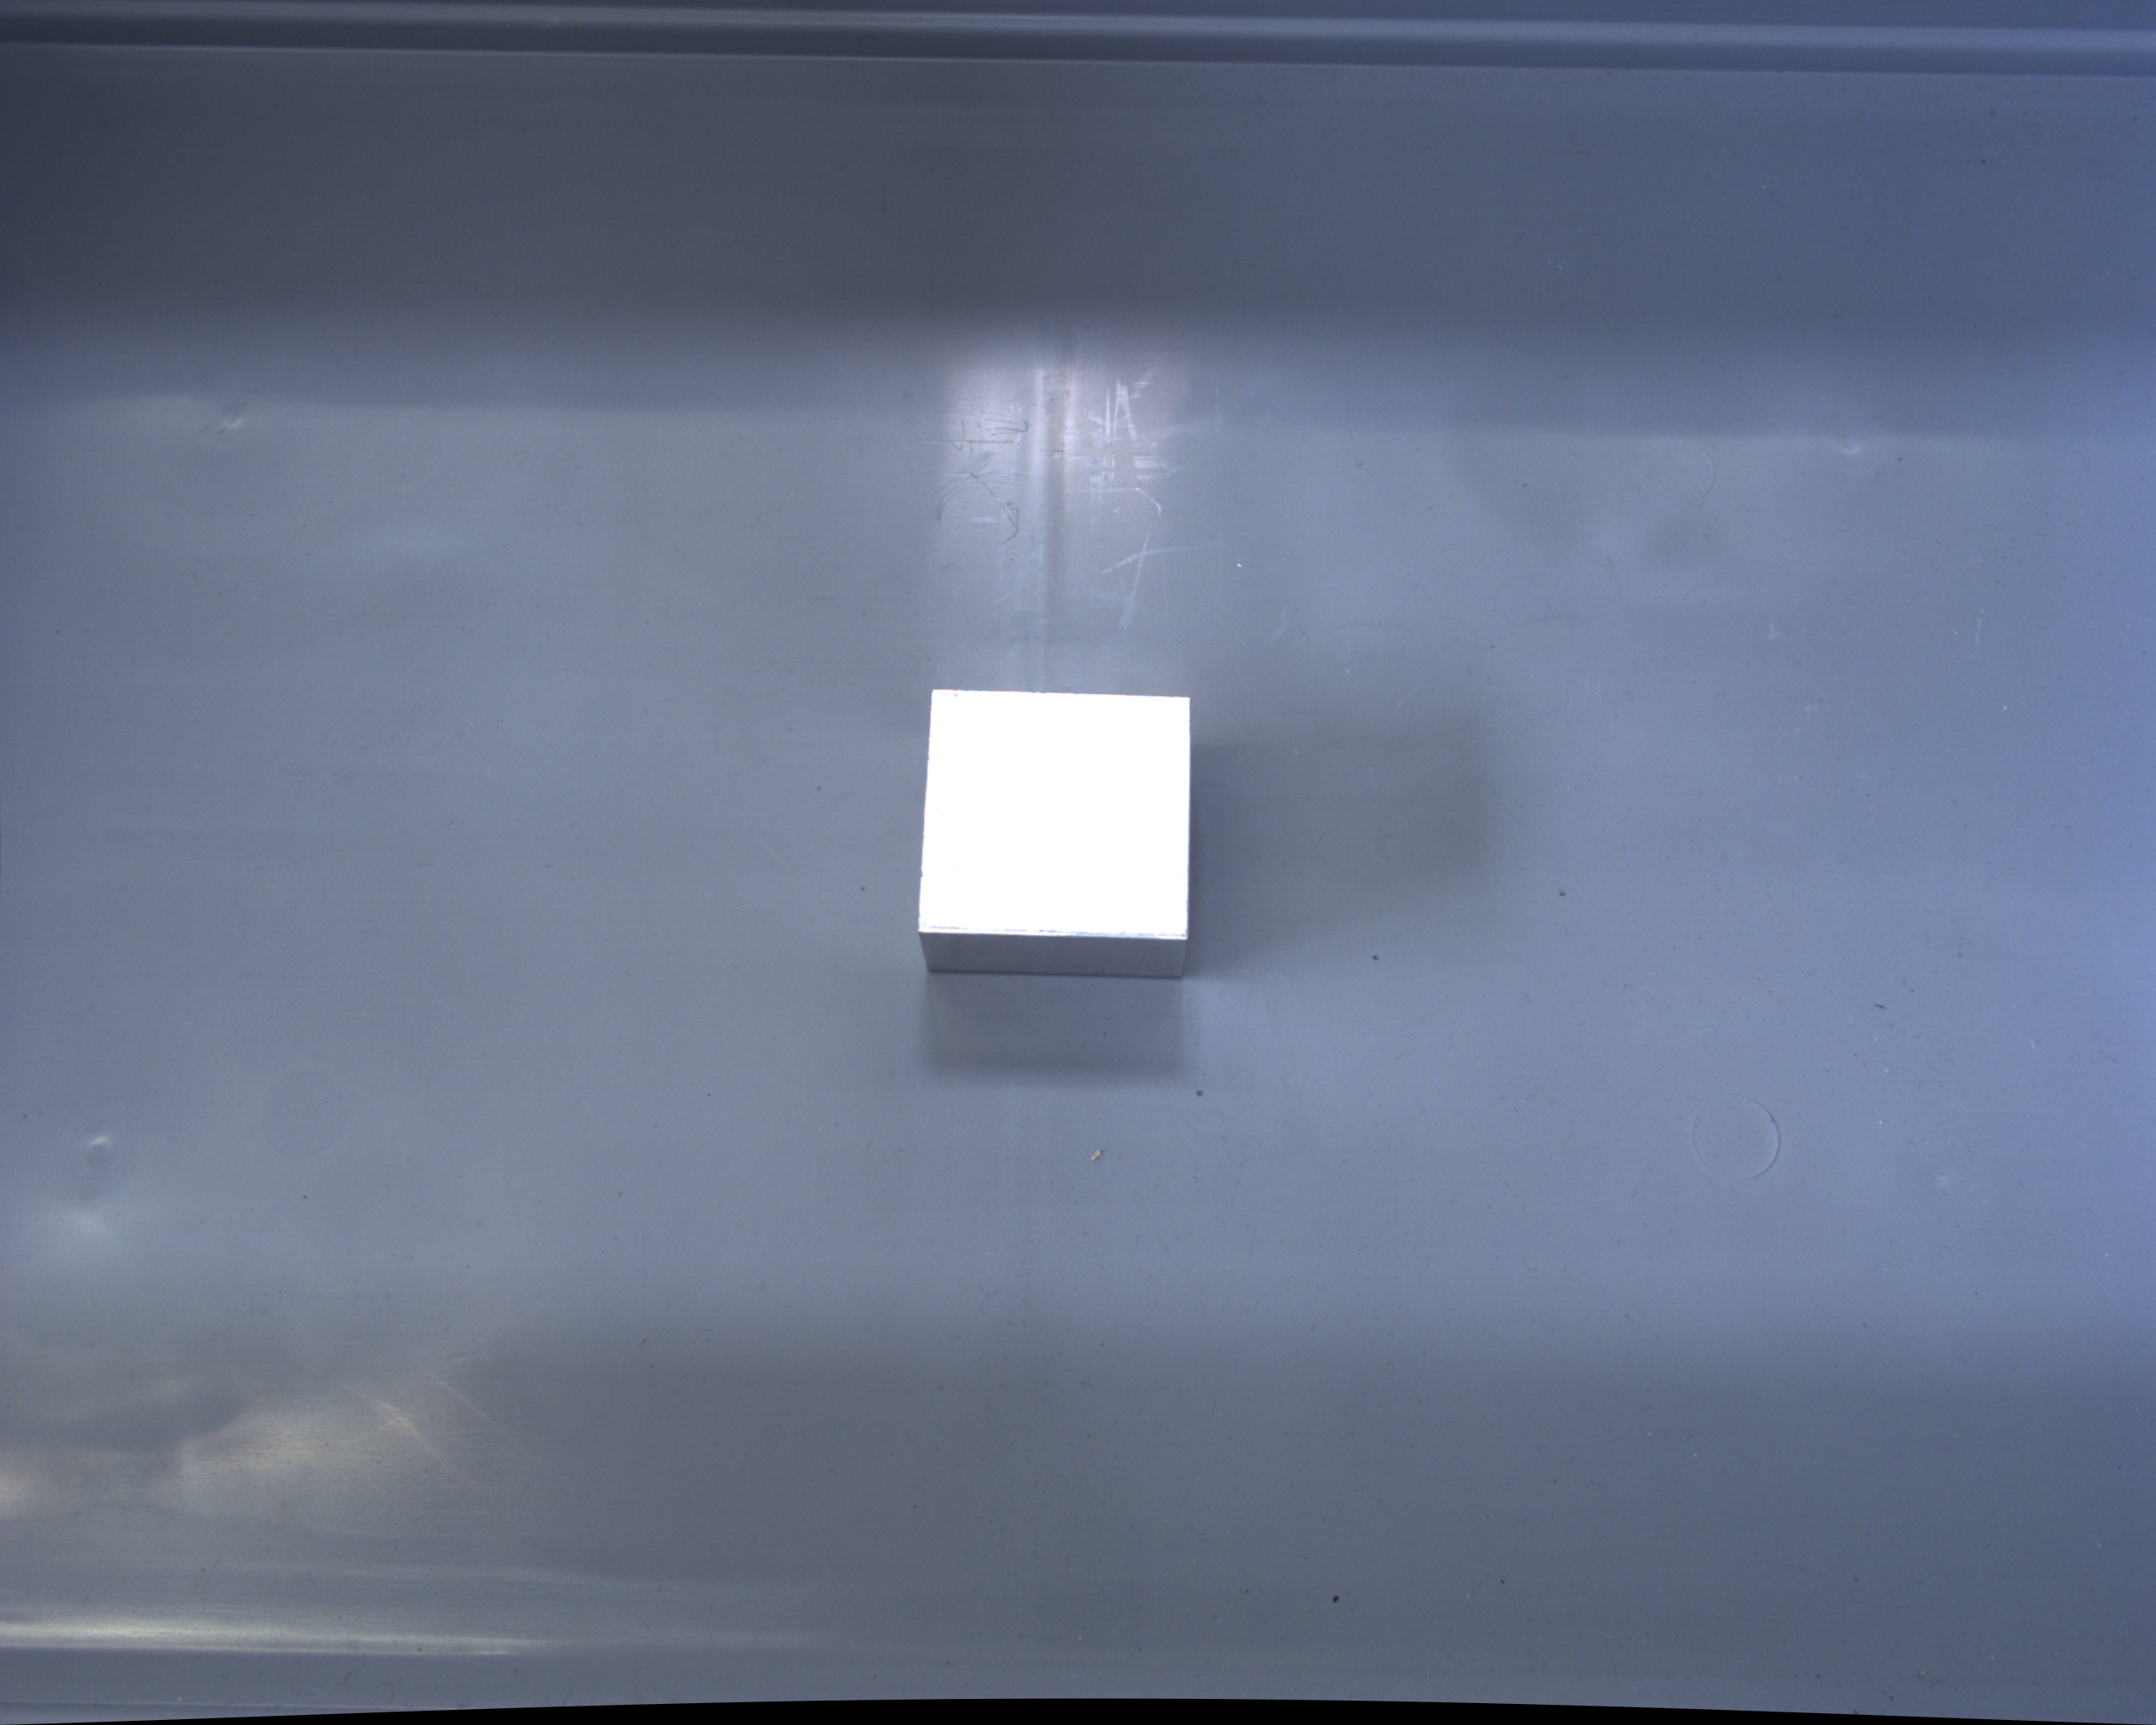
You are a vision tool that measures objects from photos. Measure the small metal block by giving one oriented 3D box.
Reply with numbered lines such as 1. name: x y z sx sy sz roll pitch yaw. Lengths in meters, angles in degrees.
1. small metal block: -0.004 -0.006 0.408 0.050 0.025 0.050 2 70 1
